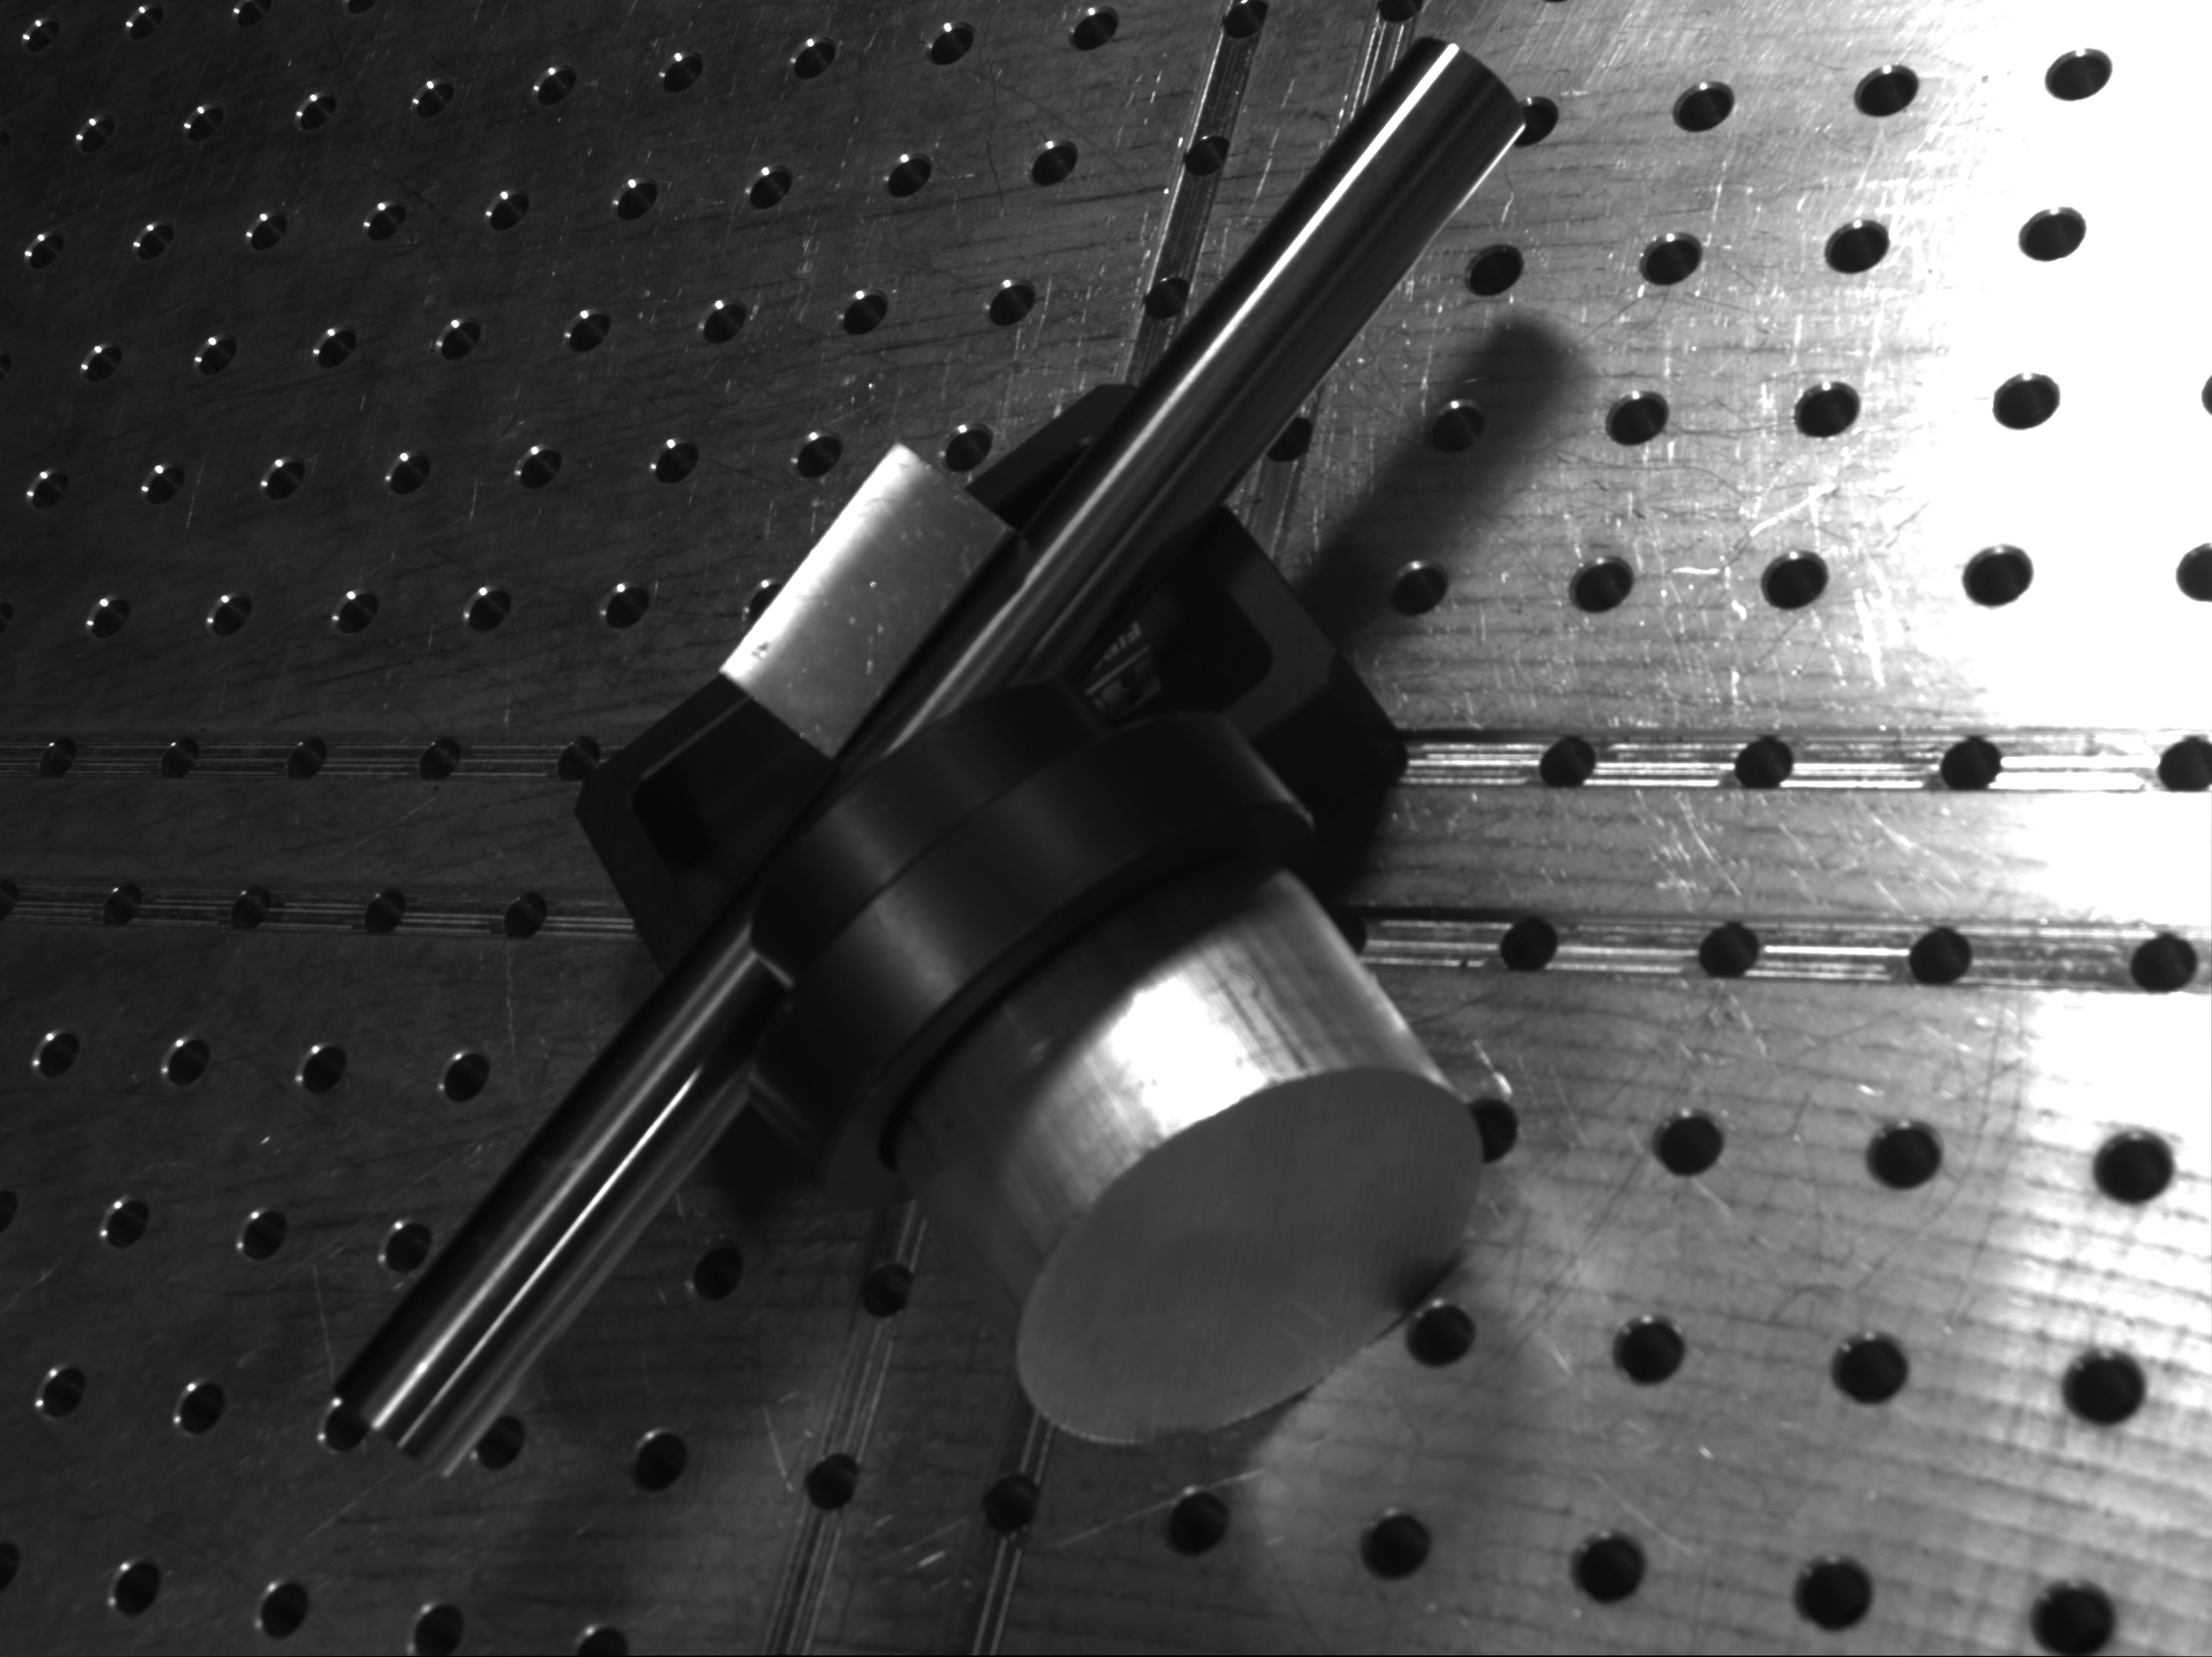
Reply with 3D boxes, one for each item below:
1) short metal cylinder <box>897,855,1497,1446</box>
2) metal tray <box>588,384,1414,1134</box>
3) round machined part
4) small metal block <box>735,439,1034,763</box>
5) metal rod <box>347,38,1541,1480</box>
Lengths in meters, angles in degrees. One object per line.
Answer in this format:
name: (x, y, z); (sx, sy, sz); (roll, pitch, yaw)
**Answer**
short metal cylinder: (0.014, 0.050, 0.572); (0.080, 0.080, 0.050); (-37, 51, 3)
metal tray: (-0.021, -0.010, 0.661); (0.130, 0.030, 0.090); (-37, 51, 3)
round machined part: (-0.015, 0.014, 0.586); (0.098, 0.098, 0.042); (-40, 72, 1)
small metal block: (-0.037, -0.039, 0.647); (0.025, 0.050, 0.050); (38, 93, 1)
metal rod: (-0.024, -0.016, 0.631); (0.025, 0.025, 0.300); (32, 79, 38)
